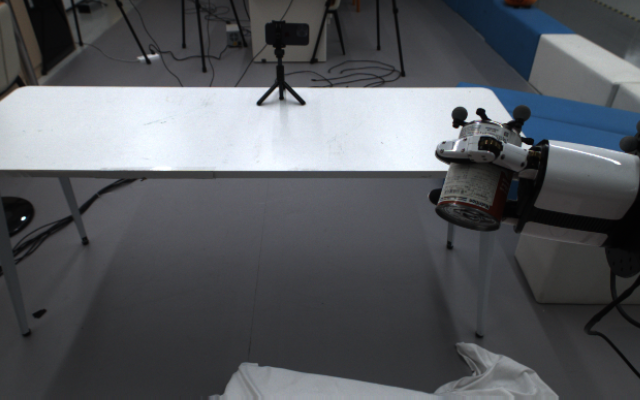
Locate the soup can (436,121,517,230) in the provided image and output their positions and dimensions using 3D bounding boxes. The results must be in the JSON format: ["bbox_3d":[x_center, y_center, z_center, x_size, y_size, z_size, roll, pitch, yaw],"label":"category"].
[{"bbox_3d":[0.172,-0.030,0.523,0.067,0.067,0.101,16,74,19],"label":"soup can"}]
